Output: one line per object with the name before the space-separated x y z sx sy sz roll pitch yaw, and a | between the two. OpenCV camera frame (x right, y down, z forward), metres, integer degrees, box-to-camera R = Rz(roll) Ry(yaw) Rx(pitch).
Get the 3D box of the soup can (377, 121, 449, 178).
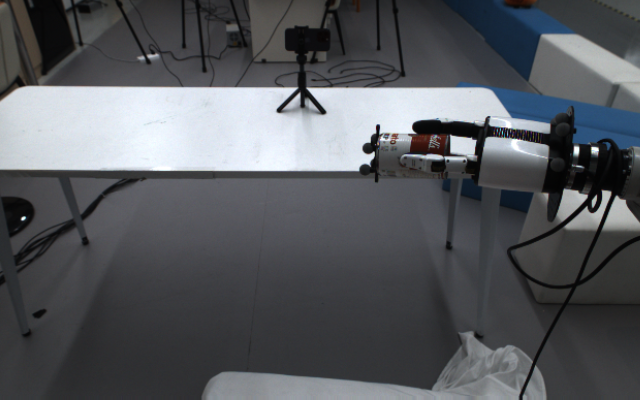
soup can | 0.142 -0.067 0.729 0.101 0.067 0.067 4 34 18
